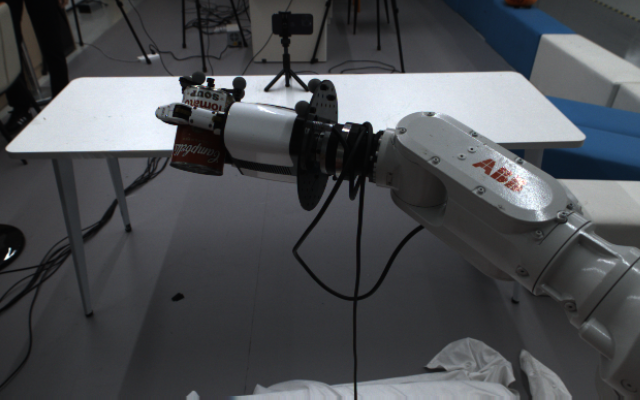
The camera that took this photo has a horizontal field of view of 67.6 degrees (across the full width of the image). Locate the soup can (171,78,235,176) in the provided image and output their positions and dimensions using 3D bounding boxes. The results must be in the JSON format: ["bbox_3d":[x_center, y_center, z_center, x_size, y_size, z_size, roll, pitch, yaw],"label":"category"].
[{"bbox_3d":[-0.150,-0.087,0.621,0.067,0.101,0.067,8,-6,1],"label":"soup can"}]
